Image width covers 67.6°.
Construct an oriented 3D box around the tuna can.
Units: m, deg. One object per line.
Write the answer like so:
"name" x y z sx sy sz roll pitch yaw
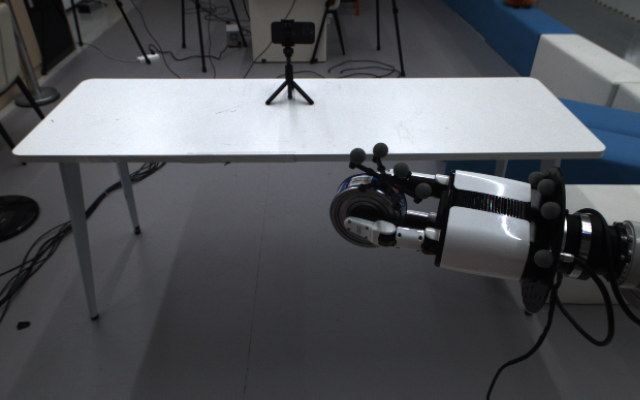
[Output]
"tuna can" 0.059 0.019 0.556 0.085 0.085 0.034 12 35 14
